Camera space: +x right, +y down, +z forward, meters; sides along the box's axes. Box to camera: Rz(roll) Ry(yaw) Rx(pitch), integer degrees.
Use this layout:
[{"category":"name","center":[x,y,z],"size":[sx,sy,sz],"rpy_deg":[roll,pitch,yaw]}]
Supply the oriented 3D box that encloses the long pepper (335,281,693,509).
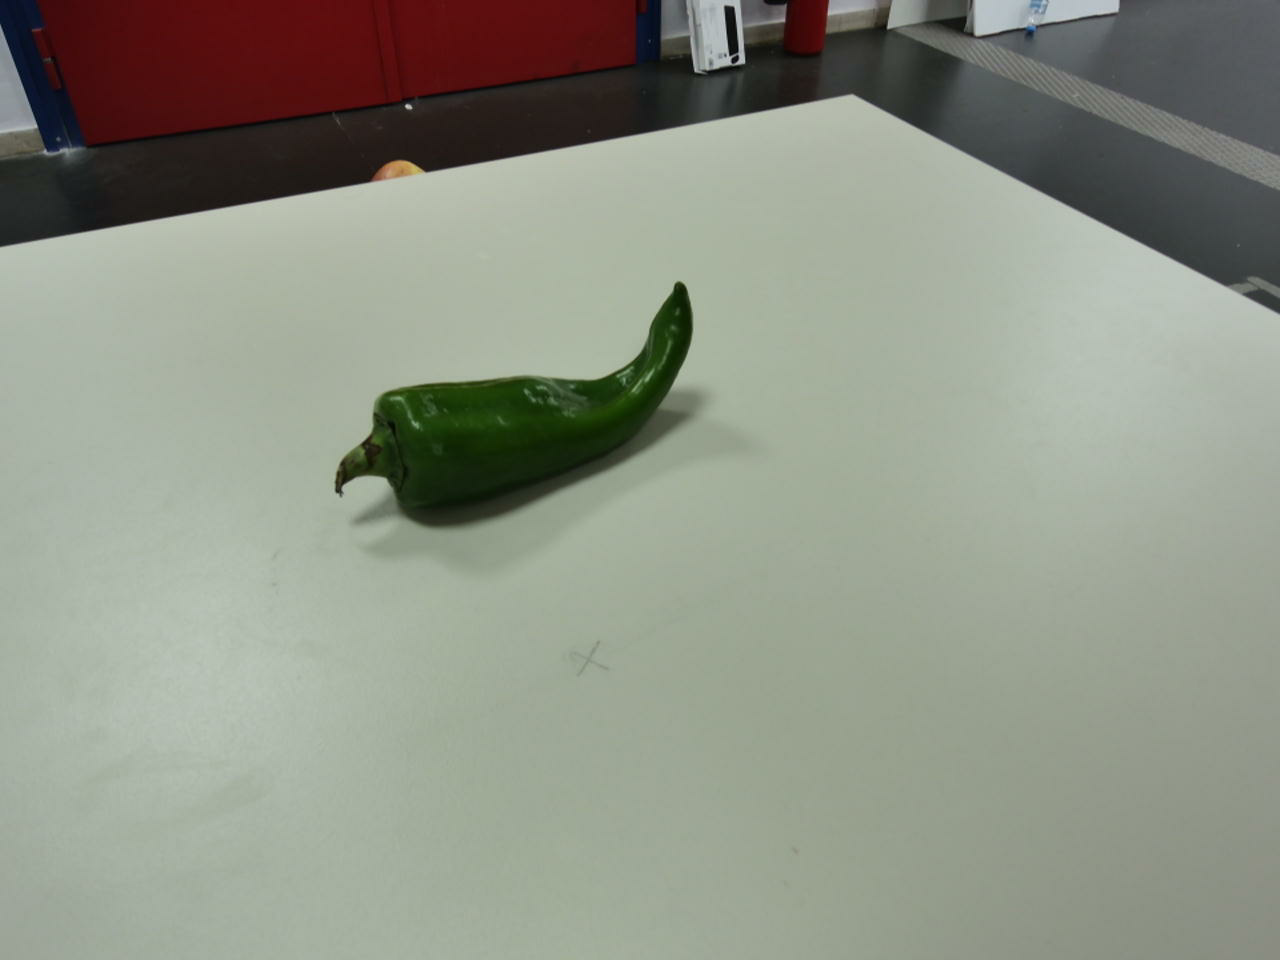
[{"category":"long pepper","center":[-0.048,-0.034,0.432],"size":[0.175,0.065,0.058],"rpy_deg":[-18,42,-23]}]
